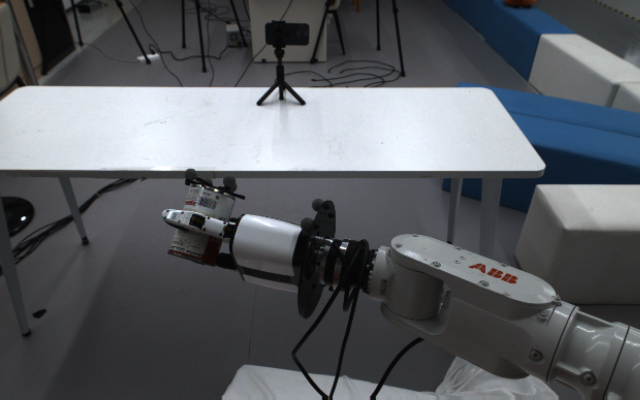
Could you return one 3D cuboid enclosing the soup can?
[{"bbox_3d":[-0.166,0.038,0.681,0.067,0.067,0.101,13,77,15],"label":"soup can"}]
